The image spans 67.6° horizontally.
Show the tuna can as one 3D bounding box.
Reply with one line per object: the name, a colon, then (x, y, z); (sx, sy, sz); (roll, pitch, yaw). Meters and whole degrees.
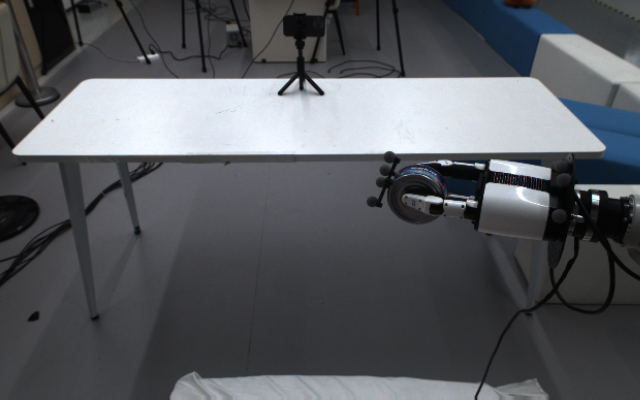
tuna can: (0.146, -0.009, 0.717); (0.085, 0.085, 0.034); (12, 30, 13)
